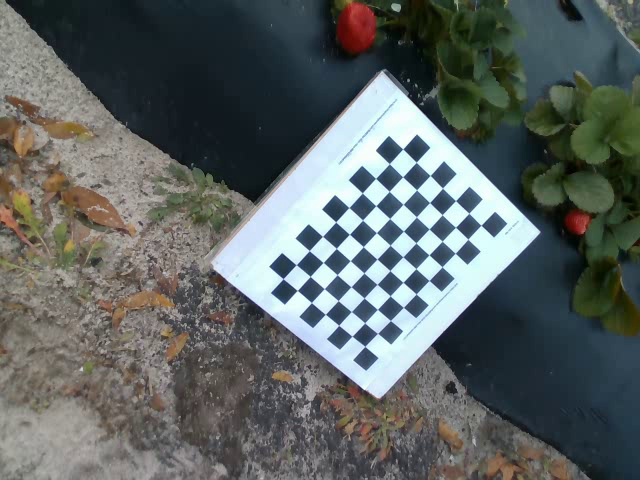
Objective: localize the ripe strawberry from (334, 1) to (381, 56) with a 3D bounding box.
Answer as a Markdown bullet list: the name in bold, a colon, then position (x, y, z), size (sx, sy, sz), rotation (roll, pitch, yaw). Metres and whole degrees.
- **ripe strawberry**: position (0.040, -0.243, 0.675), size (0.057, 0.056, 0.065), rotation (5, 14, 8)
